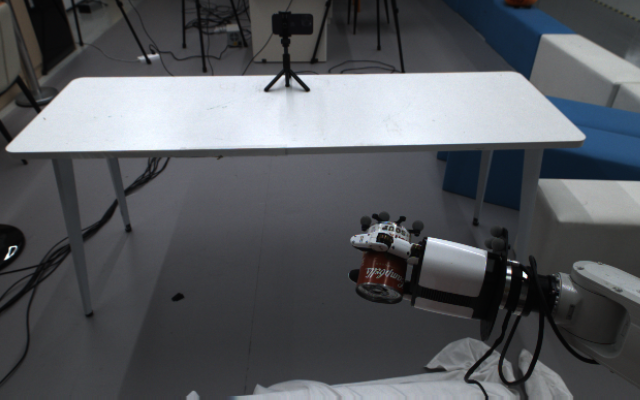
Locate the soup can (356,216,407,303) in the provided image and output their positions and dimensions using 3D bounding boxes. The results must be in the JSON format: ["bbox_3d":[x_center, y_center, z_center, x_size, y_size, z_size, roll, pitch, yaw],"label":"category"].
[{"bbox_3d":[0.094,0.090,0.701,0.067,0.067,0.101,9,58,10],"label":"soup can"}]
